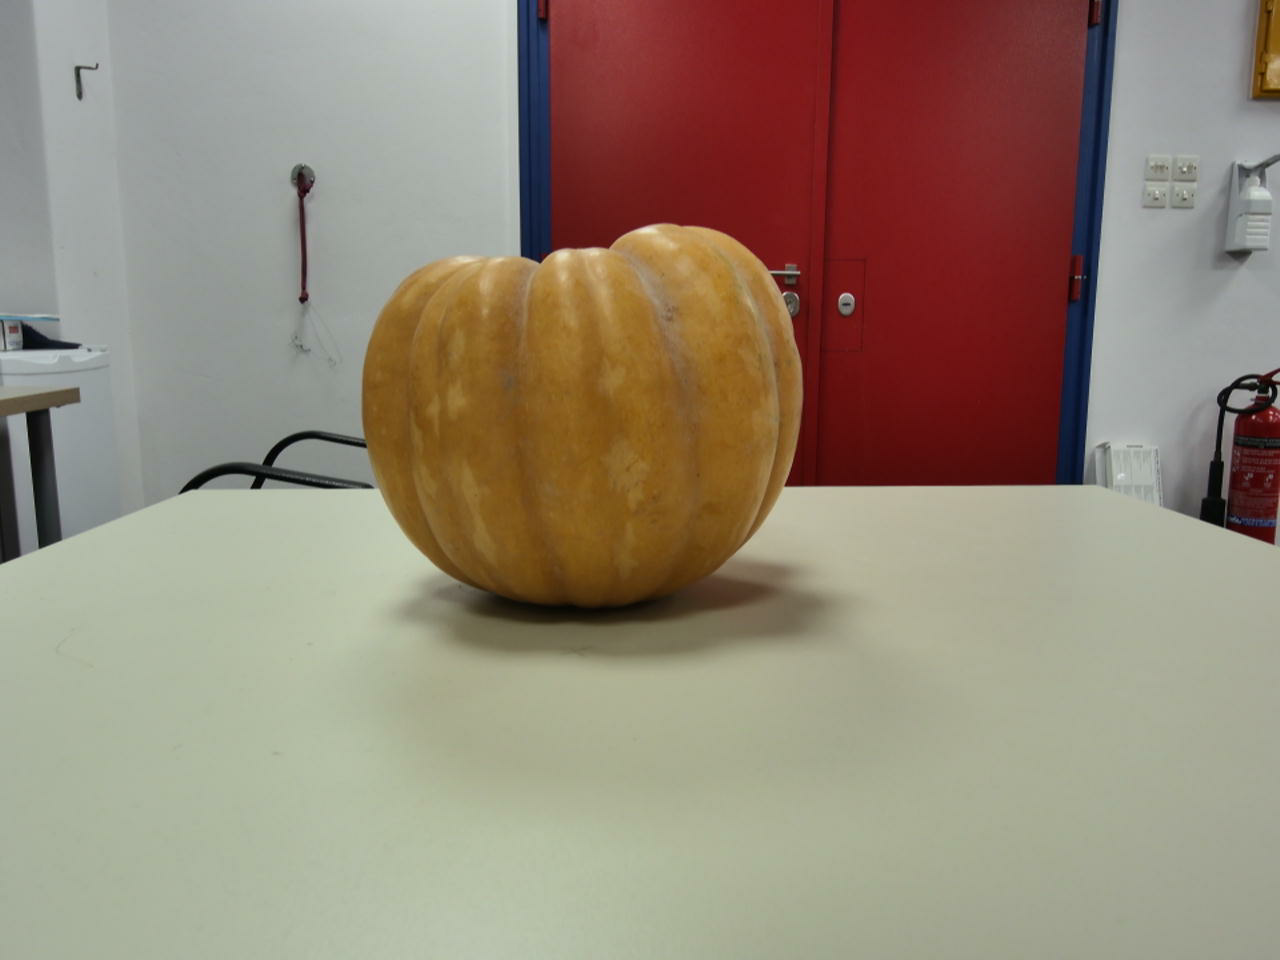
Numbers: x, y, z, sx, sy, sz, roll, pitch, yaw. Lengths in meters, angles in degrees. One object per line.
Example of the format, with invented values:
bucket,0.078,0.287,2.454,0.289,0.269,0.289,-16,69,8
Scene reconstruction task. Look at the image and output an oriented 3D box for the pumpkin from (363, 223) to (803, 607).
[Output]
pumpkin,-0.026,-0.033,0.531,0.230,0.194,0.230,0,6,0
